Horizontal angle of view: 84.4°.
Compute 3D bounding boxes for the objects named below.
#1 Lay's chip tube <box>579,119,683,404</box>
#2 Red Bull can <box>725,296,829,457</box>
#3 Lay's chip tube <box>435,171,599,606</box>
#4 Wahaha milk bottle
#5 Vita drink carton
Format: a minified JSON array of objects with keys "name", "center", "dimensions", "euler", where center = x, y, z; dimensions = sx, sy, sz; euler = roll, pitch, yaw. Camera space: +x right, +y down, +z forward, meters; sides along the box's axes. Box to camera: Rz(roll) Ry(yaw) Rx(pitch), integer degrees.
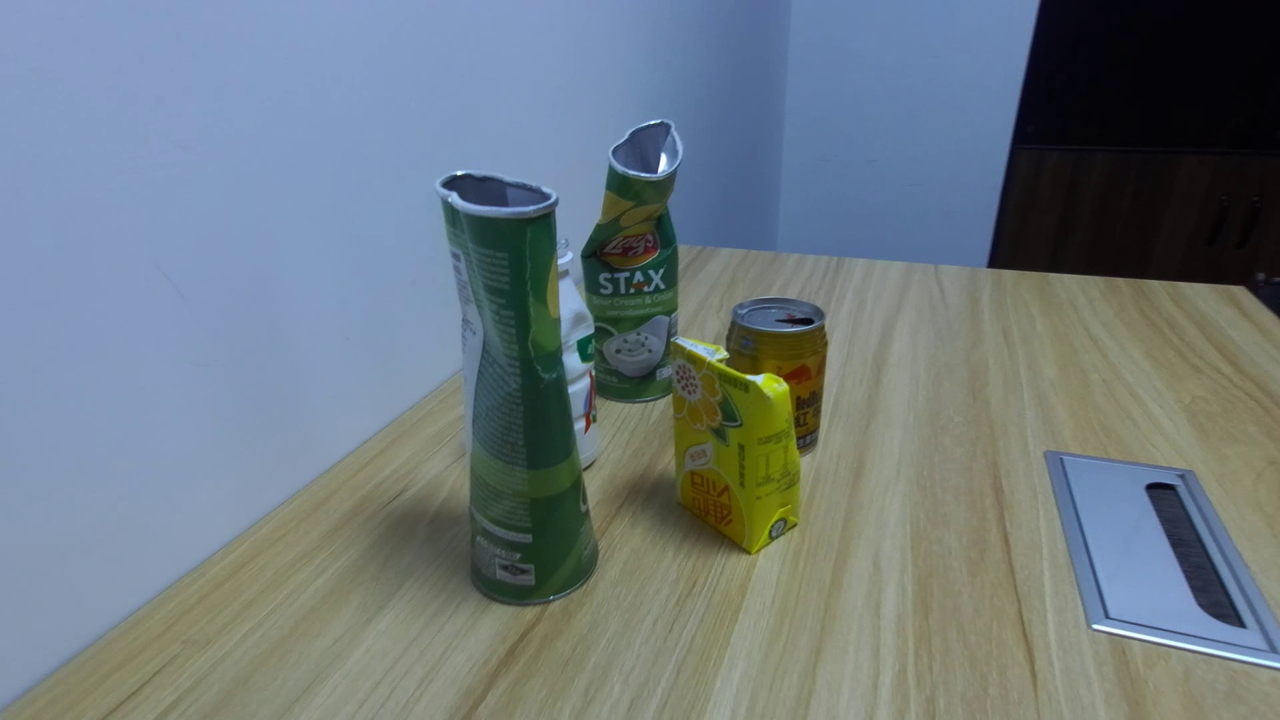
[{"name":"Lay's chip tube","center":[0.001,-0.064,0.517],"dimensions":[0.079,0.199,0.070],"euler":[-19,39,-29]},{"name":"Red Bull can","center":[0.090,0.012,0.472],"dimensions":[0.067,0.093,0.067],"euler":[0,23,1]},{"name":"Lay's chip tube","center":[-0.061,0.019,0.345],"dimensions":[0.074,0.199,0.069],"euler":[6,25,19]},{"name":"Wahaha milk bottle","center":[-0.053,0.000,0.444],"dimensions":[0.055,0.149,0.055],"euler":[1,20,0]},{"name":"Vita drink carton","center":[0.055,0.041,0.388],"dimensions":[0.046,0.110,0.071],"euler":[-22,33,-32]}]
